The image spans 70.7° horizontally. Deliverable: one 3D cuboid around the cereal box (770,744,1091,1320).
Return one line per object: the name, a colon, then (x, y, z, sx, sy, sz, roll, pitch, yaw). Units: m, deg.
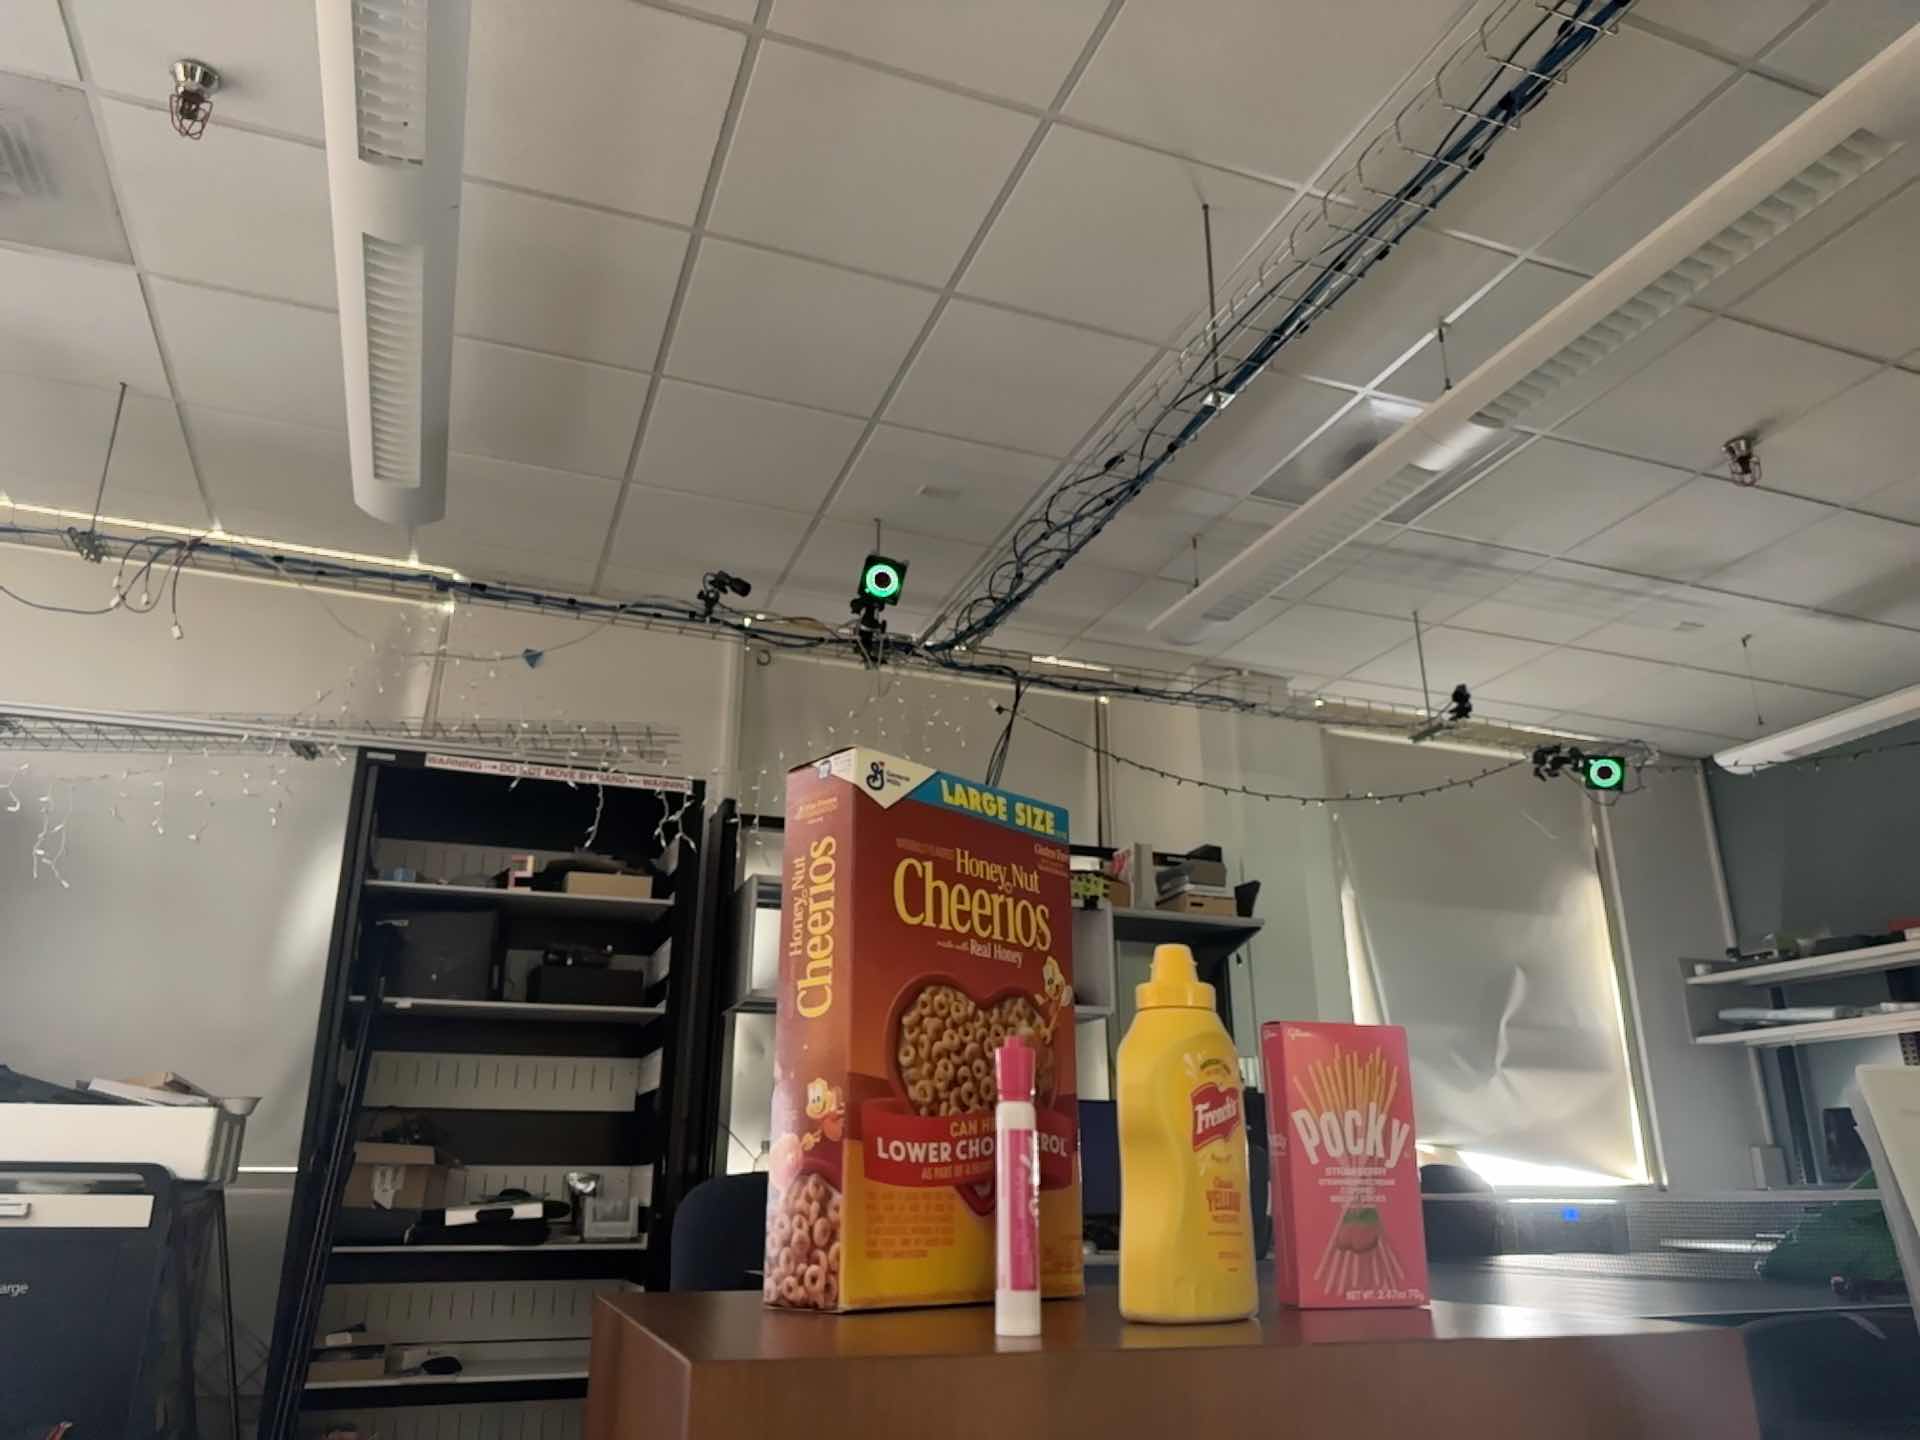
cereal box: (-0.012, 0.183, 0.808, 0.065, 0.296, 0.195, -15, -24, 38)

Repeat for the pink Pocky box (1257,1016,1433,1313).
pink Pocky box: (0.214, 0.245, 0.757, 0.084, 0.154, 0.029, 6, -19, -21)

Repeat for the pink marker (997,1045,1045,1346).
pink marker: (0.026, 0.202, 0.581, 0.020, 0.121, 0.020, 0, -19, 0)

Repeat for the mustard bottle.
mustard bottle: (0.110, 0.202, 0.674, 0.092, 0.184, 0.054, 16, -23, -42)
